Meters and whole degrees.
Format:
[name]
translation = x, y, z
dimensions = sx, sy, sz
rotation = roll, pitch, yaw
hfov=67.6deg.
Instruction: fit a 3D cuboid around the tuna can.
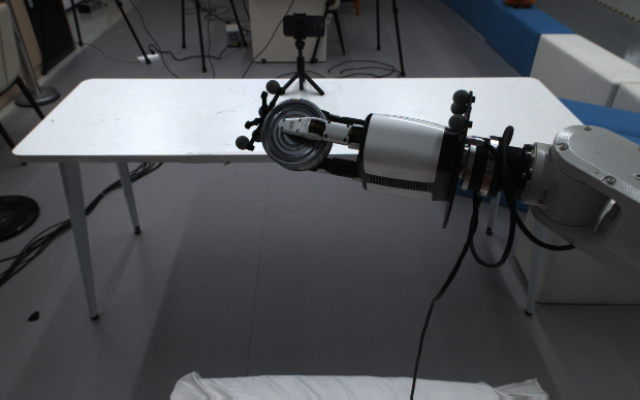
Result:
[tuna can]
translation = -0.025, -0.077, 0.593
dimensions = 0.085, 0.085, 0.034
rotation = 9, -4, 10
